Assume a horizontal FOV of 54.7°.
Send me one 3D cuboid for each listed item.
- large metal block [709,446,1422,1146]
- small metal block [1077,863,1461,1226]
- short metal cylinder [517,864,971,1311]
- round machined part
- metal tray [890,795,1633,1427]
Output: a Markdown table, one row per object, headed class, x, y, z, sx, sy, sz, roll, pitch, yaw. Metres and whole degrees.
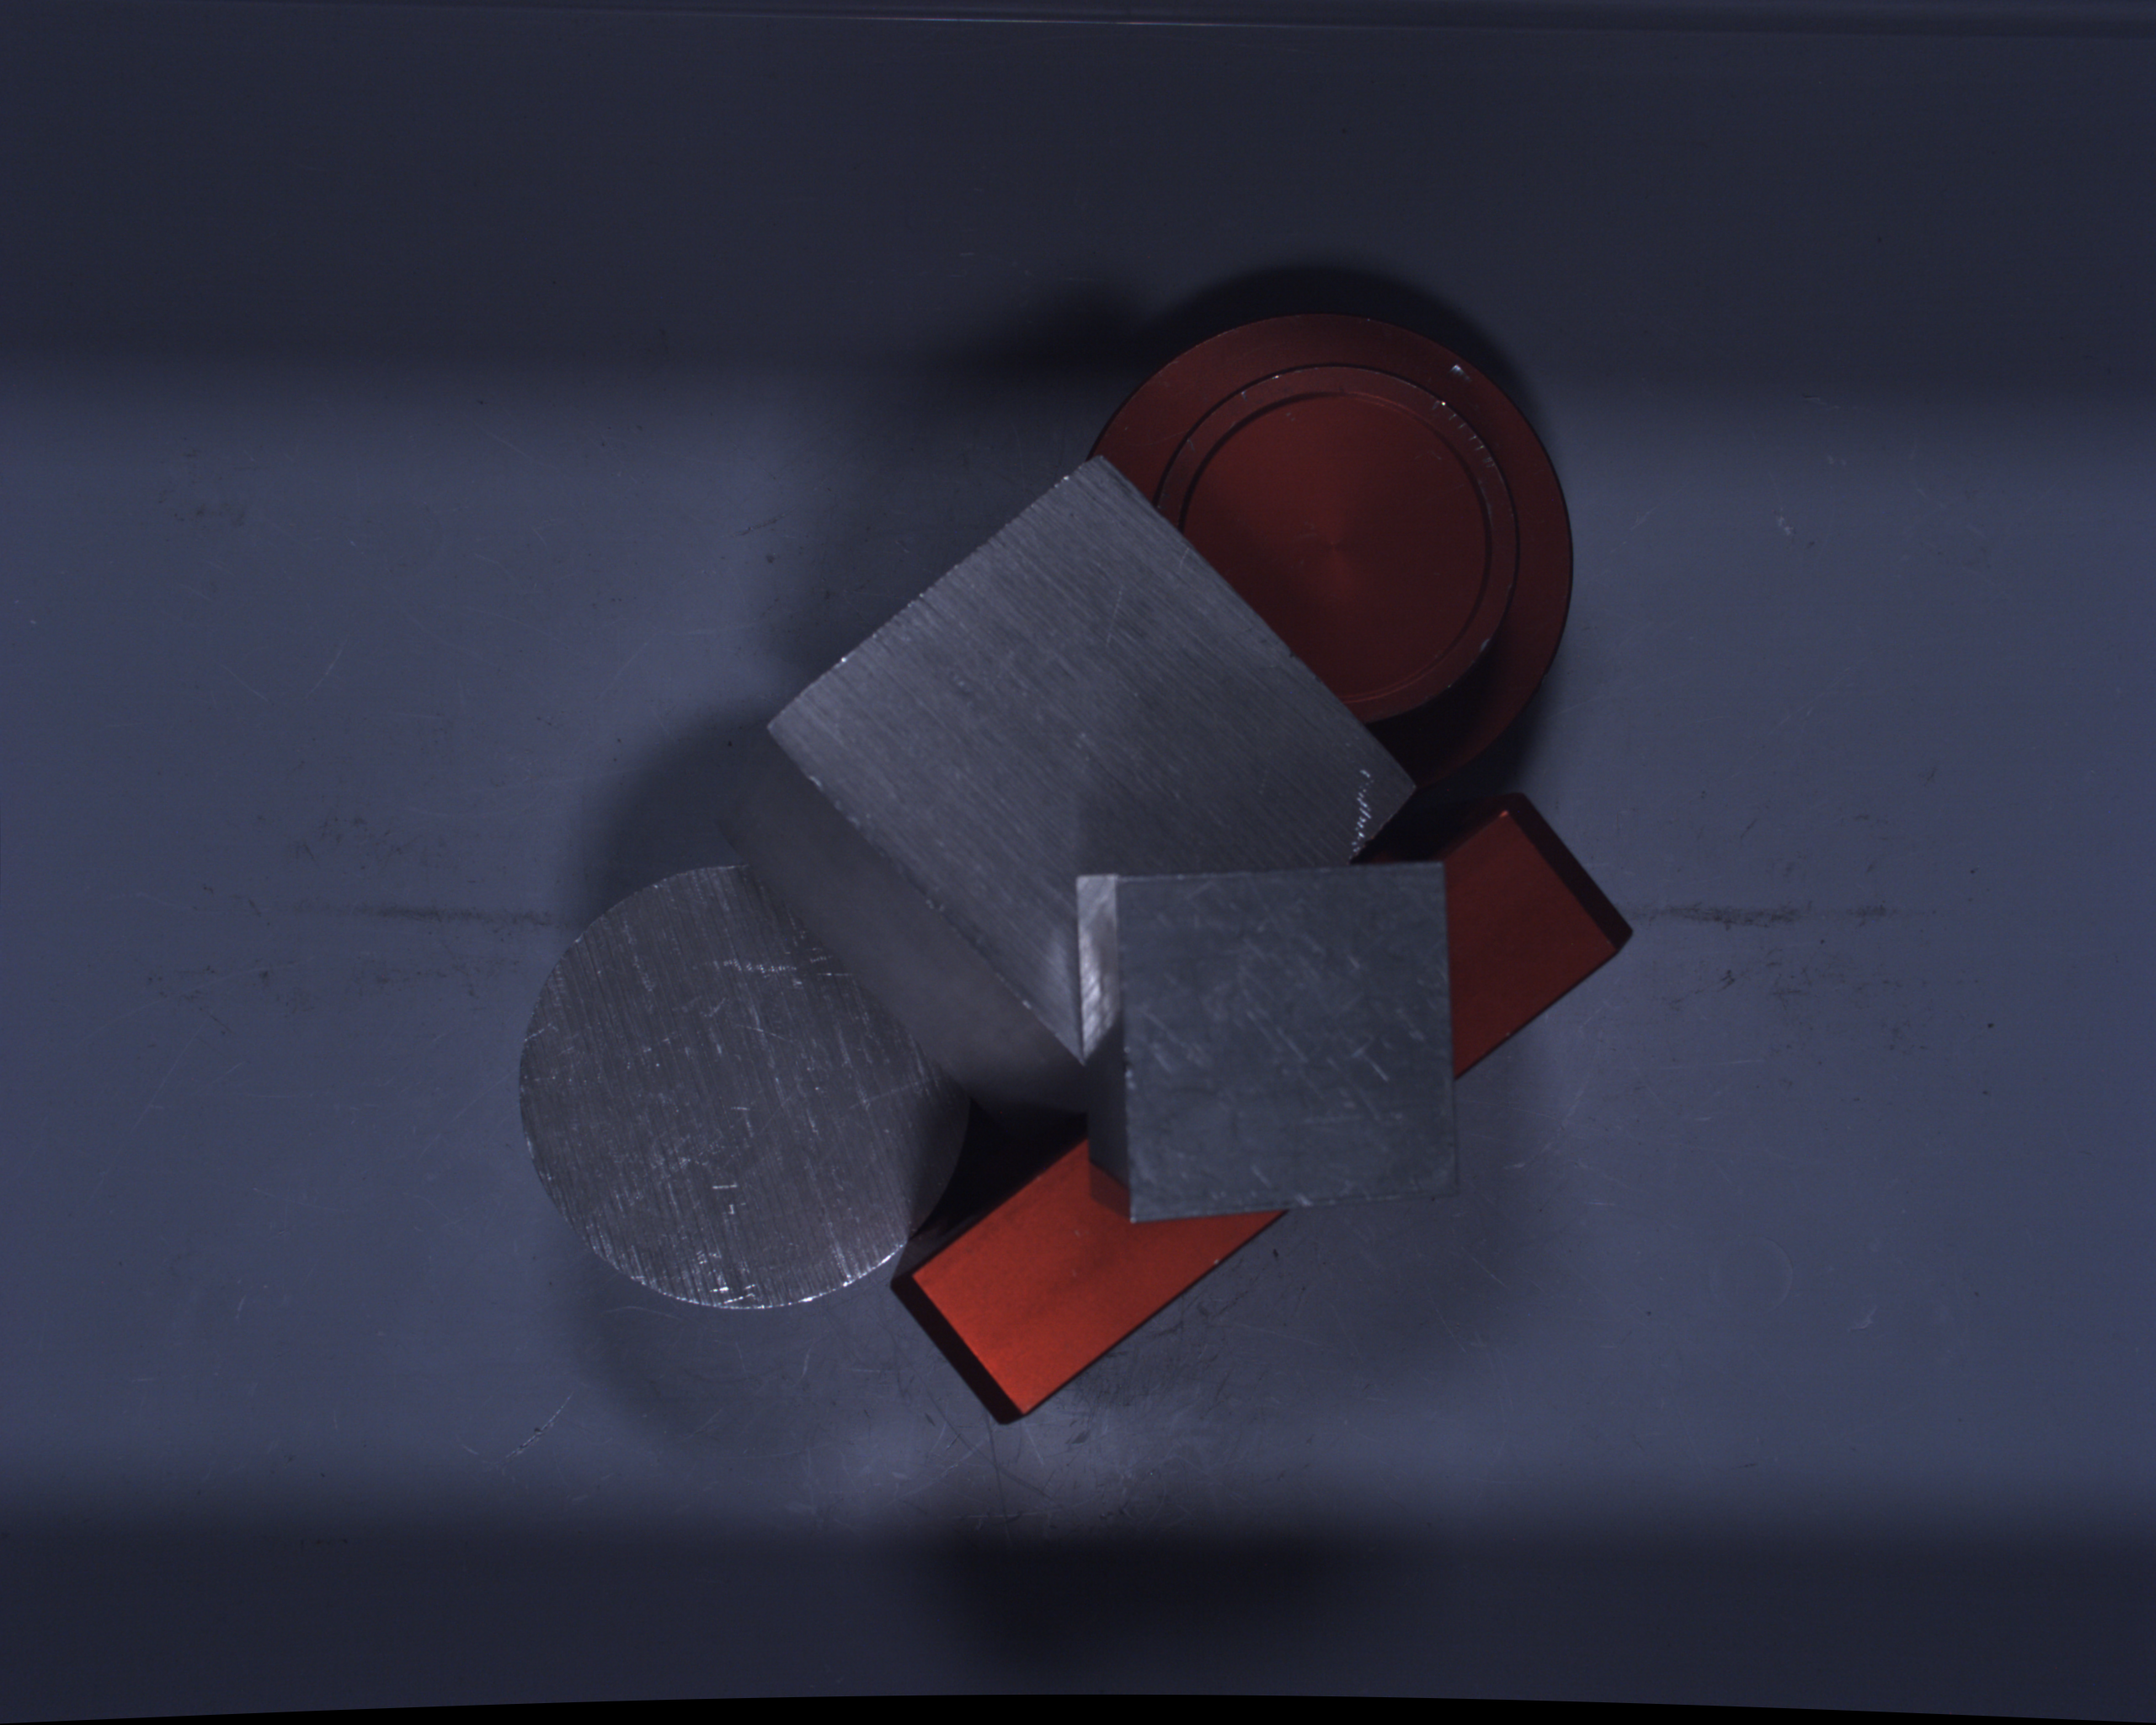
| class | x | y | z | sx | sy | sz | roll | pitch | yaw |
| --- | --- | --- | --- | --- | --- | --- | --- | --- | --- |
| large metal block | -0.003 | -0.010 | 0.362 | 0.080 | 0.050 | 0.080 | 46 | 65 | 0 |
| small metal block | 0.028 | 0.026 | 0.315 | 0.050 | 0.025 | 0.050 | -2 | 89 | -14 |
| short metal cylinder | -0.060 | 0.040 | 0.396 | 0.081 | 0.050 | 0.079 | 0 | 90 | -1 |
| round machined part | 0.046 | -0.058 | 0.402 | 0.099 | 0.042 | 0.097 | 0 | 90 | -1 |
| metal tray | 0.030 | 0.040 | 0.377 | 0.130 | 0.090 | 0.030 | -38 | 90 | -1 |
